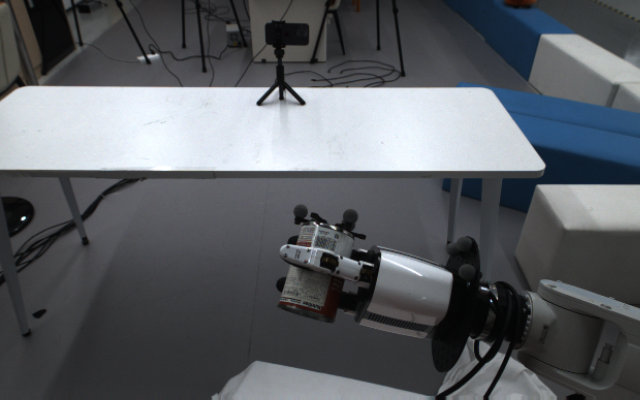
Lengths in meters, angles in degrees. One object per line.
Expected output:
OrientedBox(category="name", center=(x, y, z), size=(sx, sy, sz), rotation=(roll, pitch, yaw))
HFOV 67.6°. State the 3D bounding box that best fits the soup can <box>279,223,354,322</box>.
OrientedBox(category="soup can", center=(-0.001, 0.084, 0.563), size=(0.067, 0.067, 0.101), rotation=(11, 72, 13))
